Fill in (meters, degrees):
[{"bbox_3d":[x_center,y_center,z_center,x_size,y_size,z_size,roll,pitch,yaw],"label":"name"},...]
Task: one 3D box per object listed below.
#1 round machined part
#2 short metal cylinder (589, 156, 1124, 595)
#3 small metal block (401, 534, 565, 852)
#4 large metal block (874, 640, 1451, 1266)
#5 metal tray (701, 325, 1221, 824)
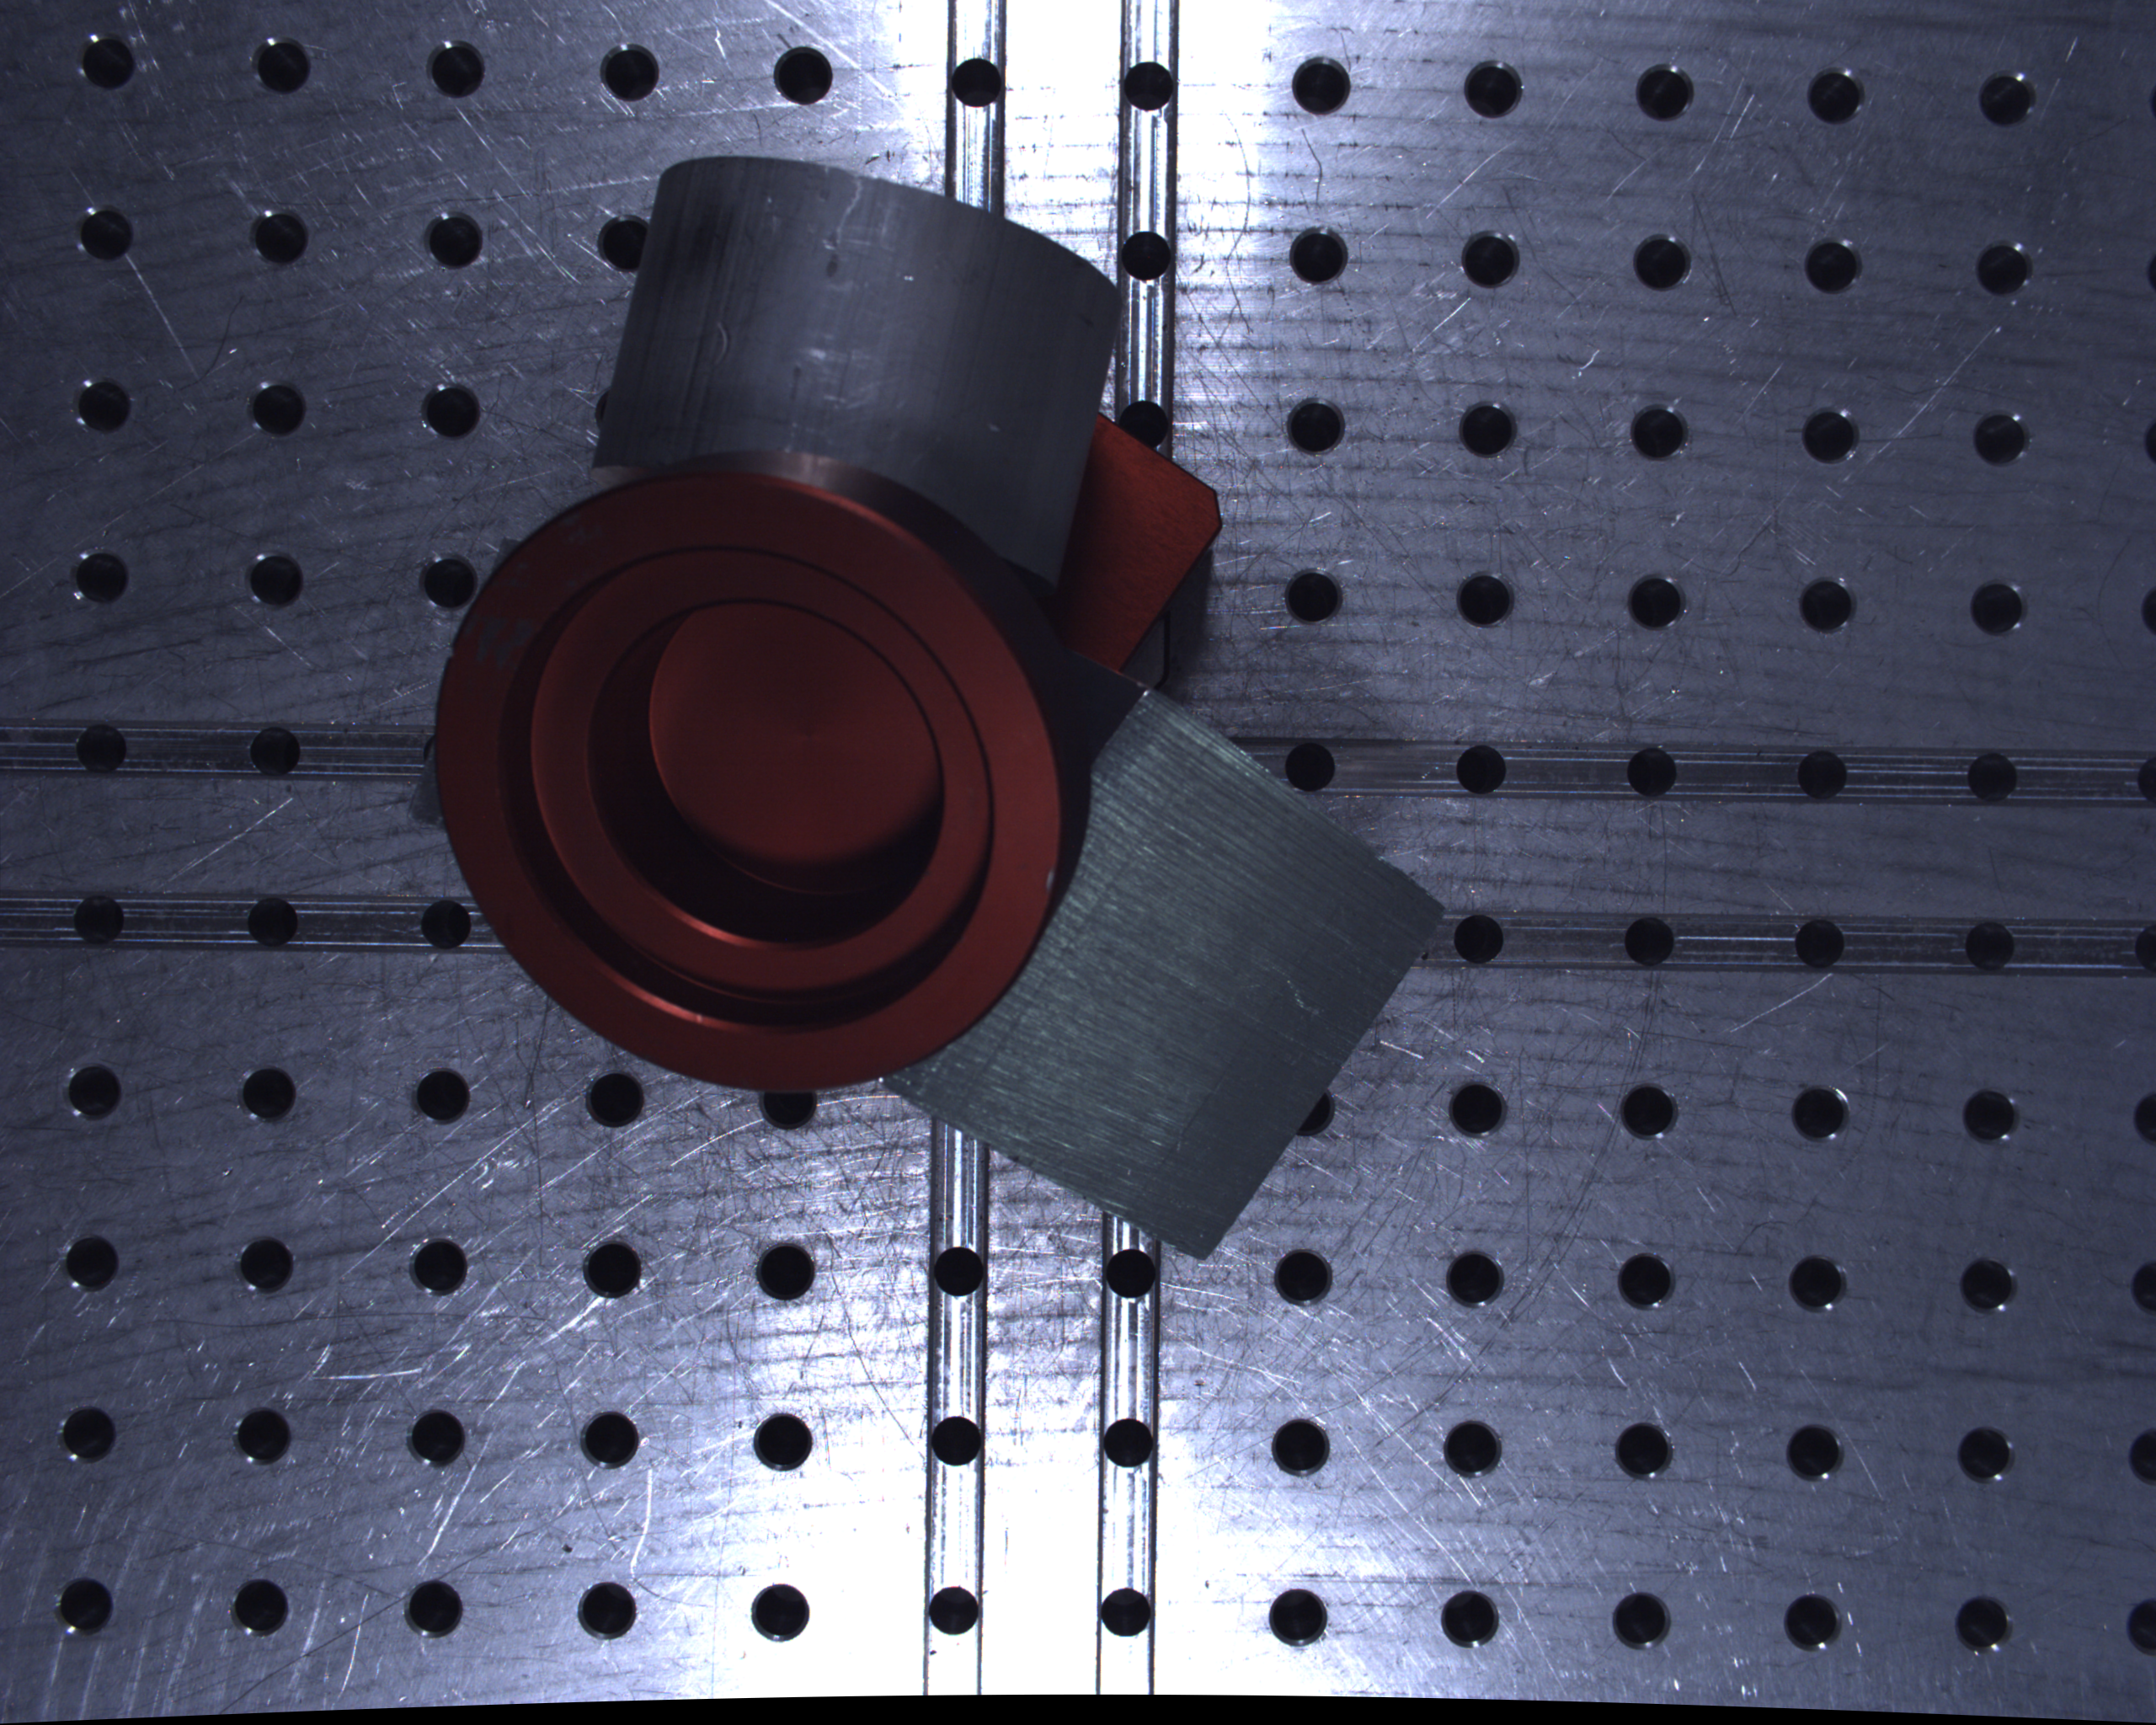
[{"bbox_3d":[-0.046,-0.016,0.330,0.098,0.042,0.097,4,110,10],"label":"round machined part"},{"bbox_3d":[-0.037,-0.080,0.355,0.080,0.080,0.050,13,90,-1],"label":"short metal cylinder"},{"bbox_3d":[-0.091,-0.027,0.368,0.025,0.050,0.050,19,90,0],"label":"small metal block"},{"bbox_3d":[0.007,0.015,0.383,0.080,0.050,0.080,34,90,-31],"label":"large metal block"},{"bbox_3d":[-0.044,-0.040,0.411,0.090,0.030,0.130,35,90,-1],"label":"metal tray"}]
